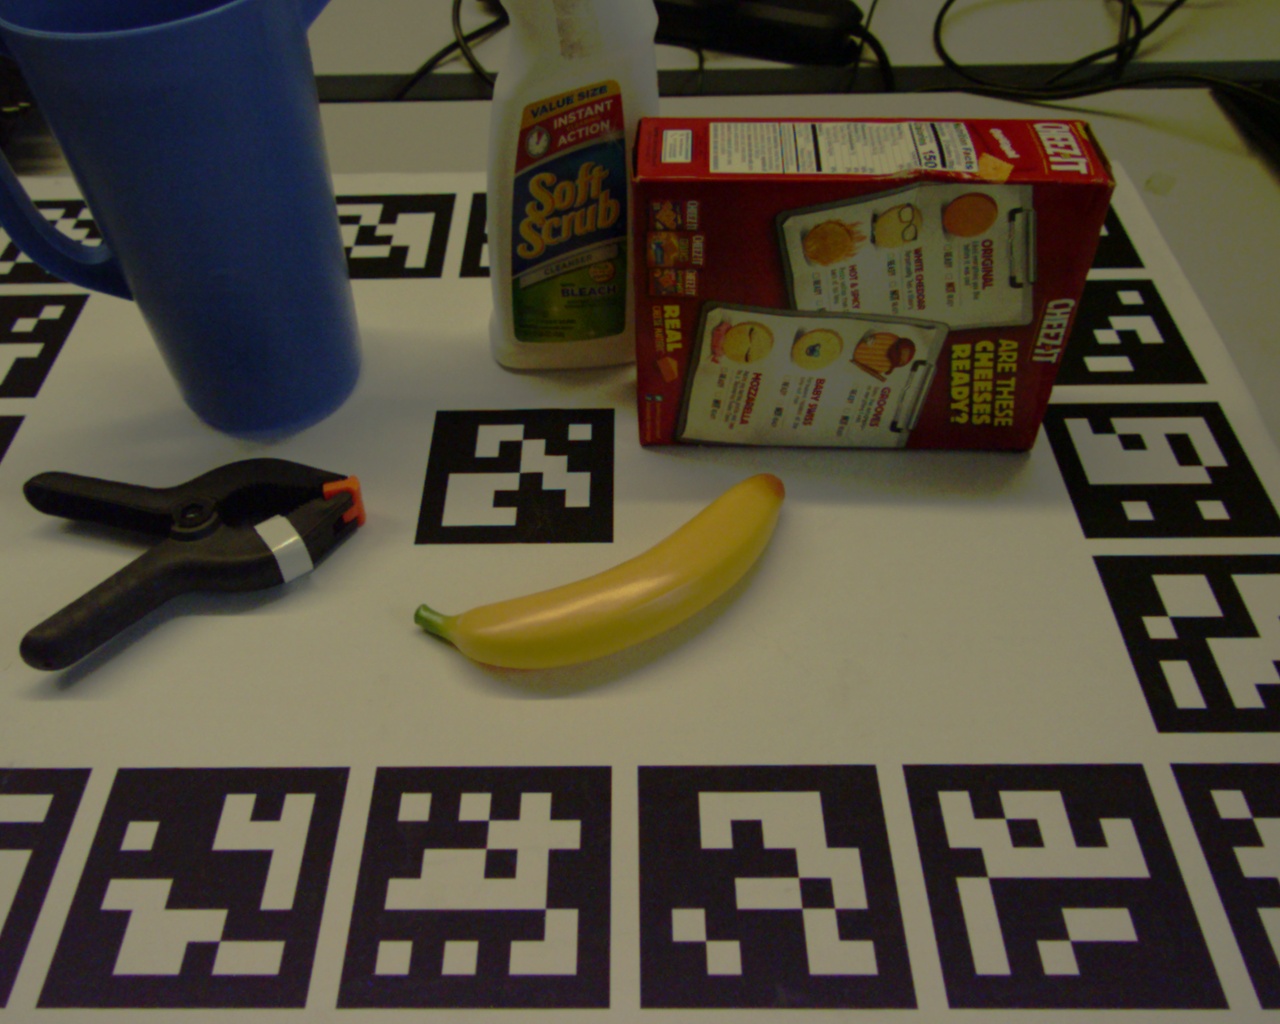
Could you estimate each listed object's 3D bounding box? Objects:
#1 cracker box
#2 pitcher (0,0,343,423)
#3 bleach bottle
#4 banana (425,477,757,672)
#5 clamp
[{"bbox_3d":[0.101,-0.113,0.611,0.214,0.163,0.072,0,43,4],"label":"cracker box"},{"bbox_3d":[-0.242,-0.167,0.612,0.187,0.242,0.134,-13,46,-14],"label":"pitcher"},{"bbox_3d":[-0.054,-0.184,0.648,0.103,0.250,0.068,0,45,1],"label":"bleach bottle"},{"bbox_3d":[-0.008,0.035,0.590,0.196,0.038,0.075,-27,50,-22],"label":"banana"},{"bbox_3d":[-0.229,0.014,0.607,0.164,0.036,0.123,-12,45,-12],"label":"clamp"}]
